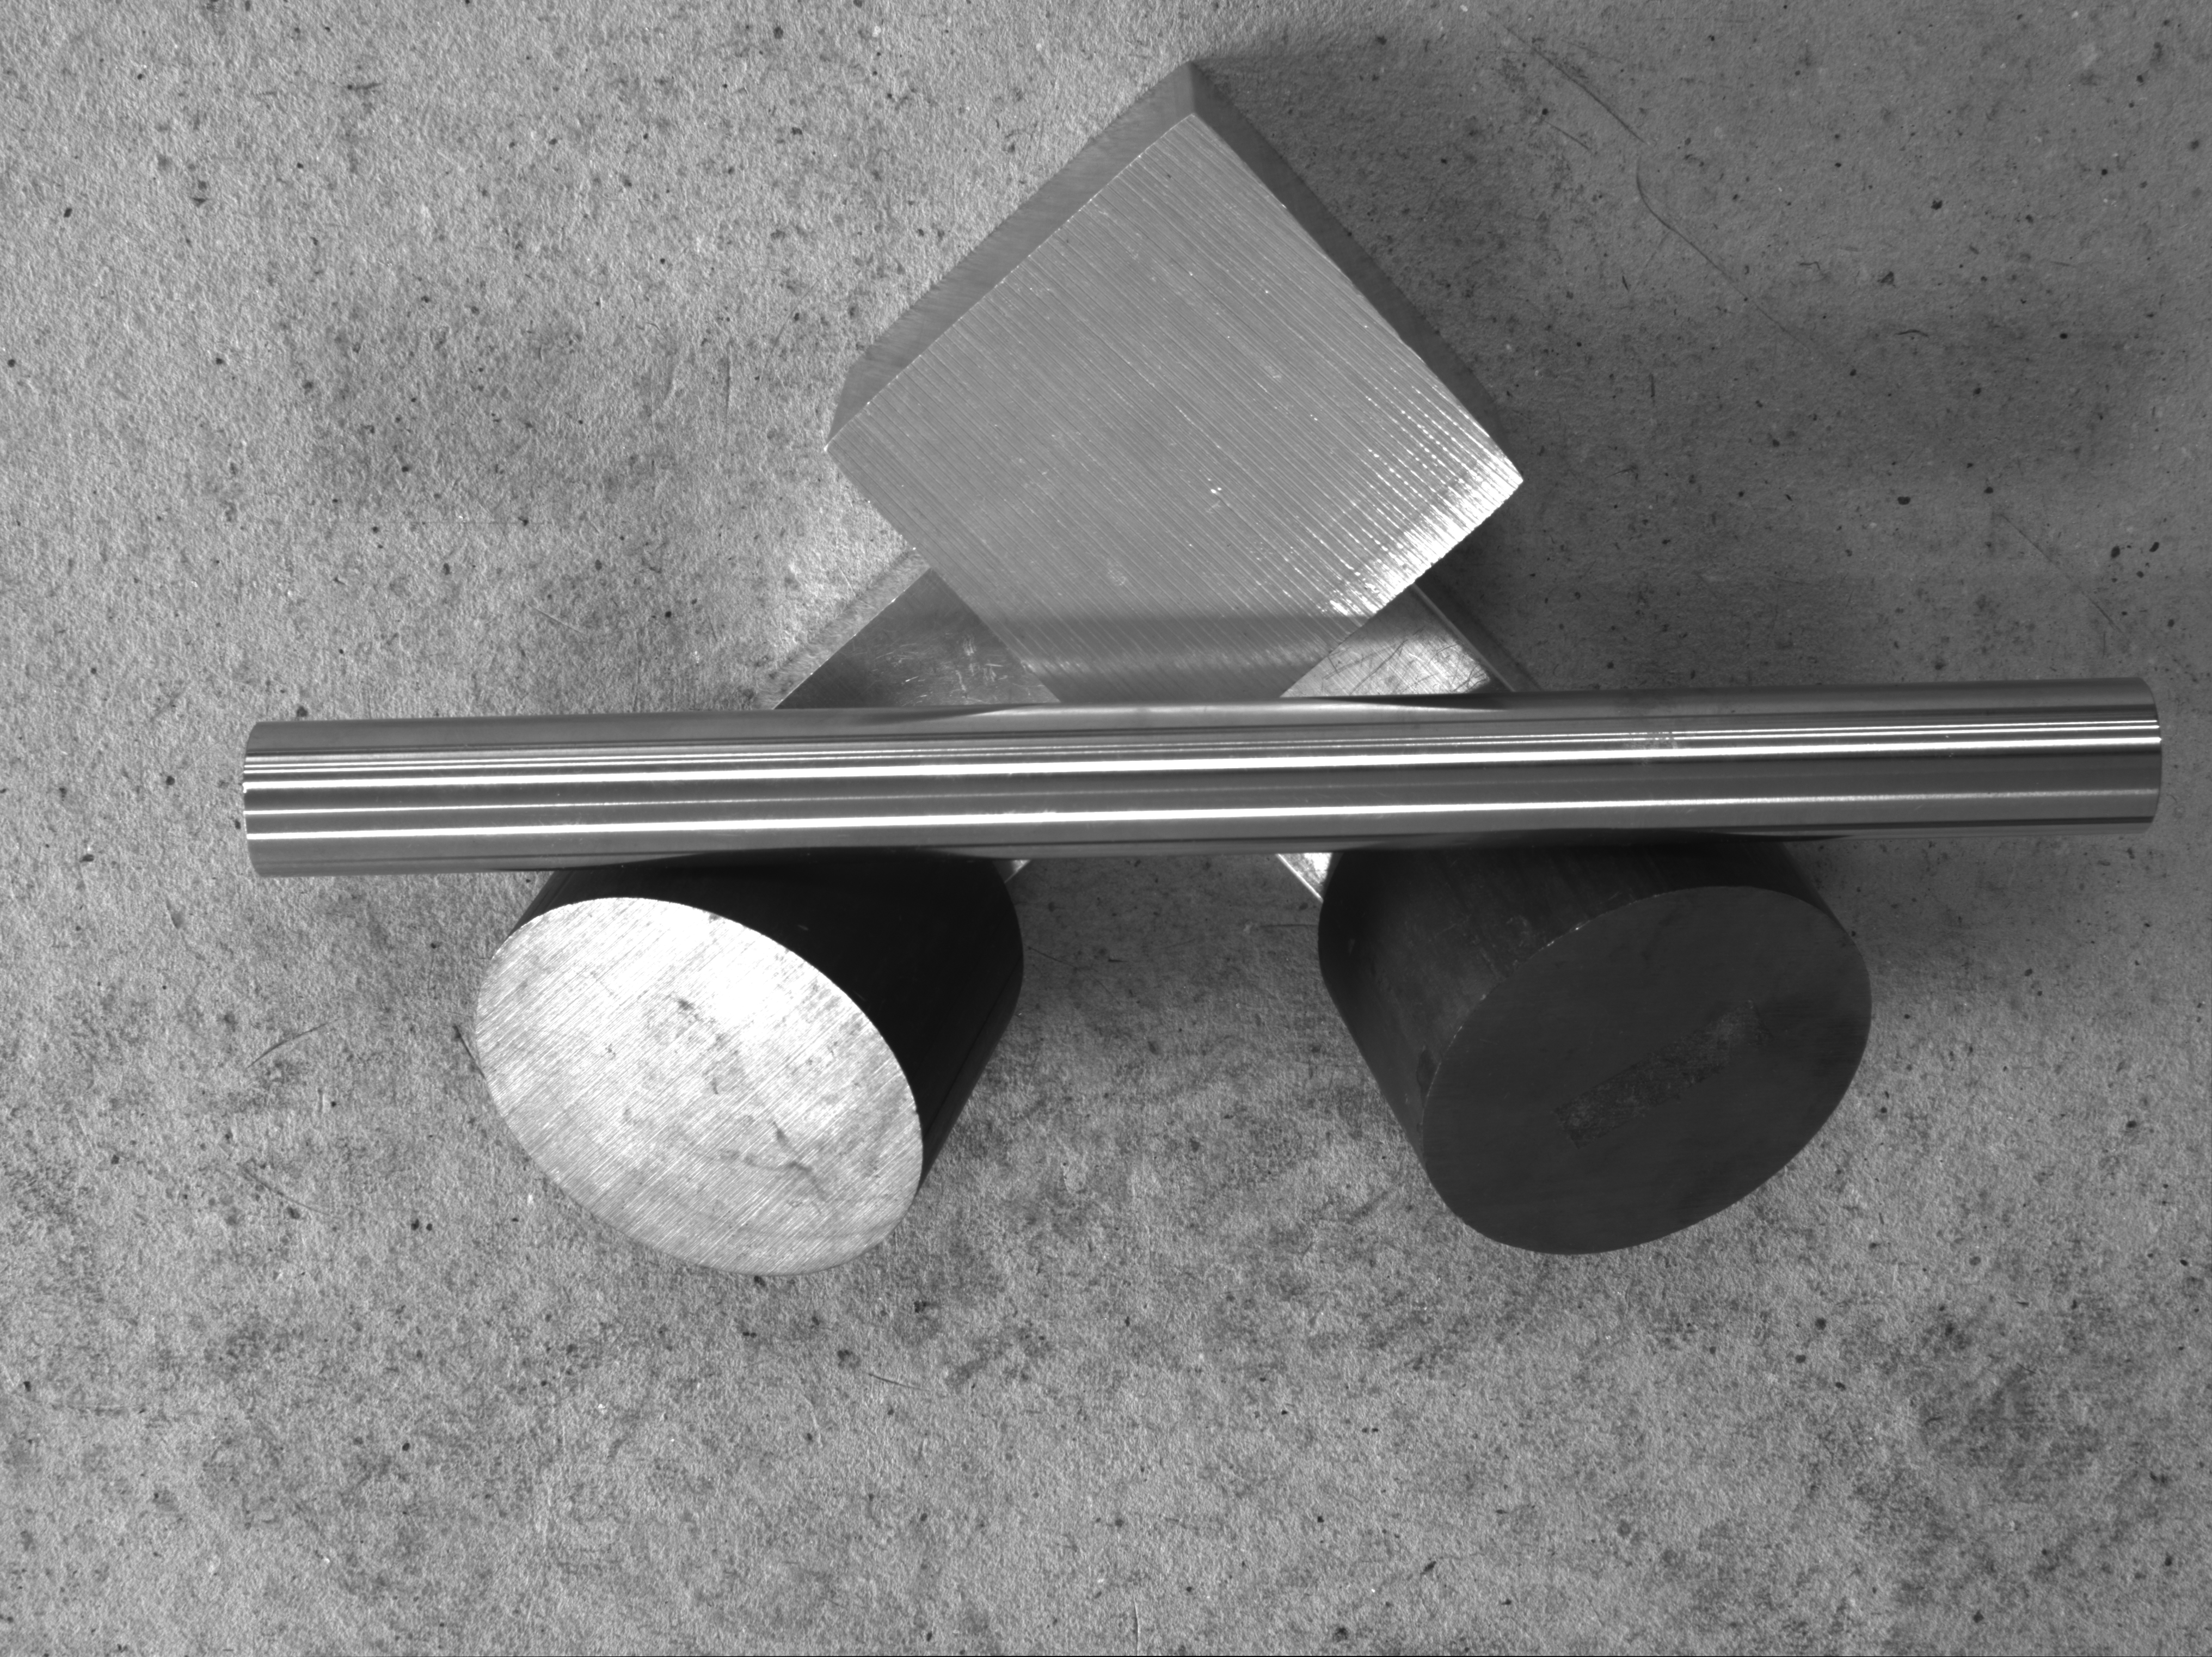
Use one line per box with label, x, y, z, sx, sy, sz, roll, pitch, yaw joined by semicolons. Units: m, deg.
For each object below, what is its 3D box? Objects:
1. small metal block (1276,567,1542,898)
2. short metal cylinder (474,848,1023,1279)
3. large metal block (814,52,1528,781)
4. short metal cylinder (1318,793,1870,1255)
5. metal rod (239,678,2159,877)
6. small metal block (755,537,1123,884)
small metal block;0.046;-0.017;0.638;0.050;0.025;0.050;-42;105;14
short metal cylinder;-0.060;0.030;0.626;0.080;0.050;0.080;11;129;14
large metal block;0.010;-0.067;0.604;0.080;0.050;0.080;-40;105;13
short metal cylinder;0.082;0.026;0.626;0.080;0.050;0.080;-11;130;-13
metal rod;0.014;-0.008;0.586;0.300;0.025;0.025;-1;110;0
small metal block;-0.026;-0.019;0.637;0.050;0.025;0.050;-42;105;13
